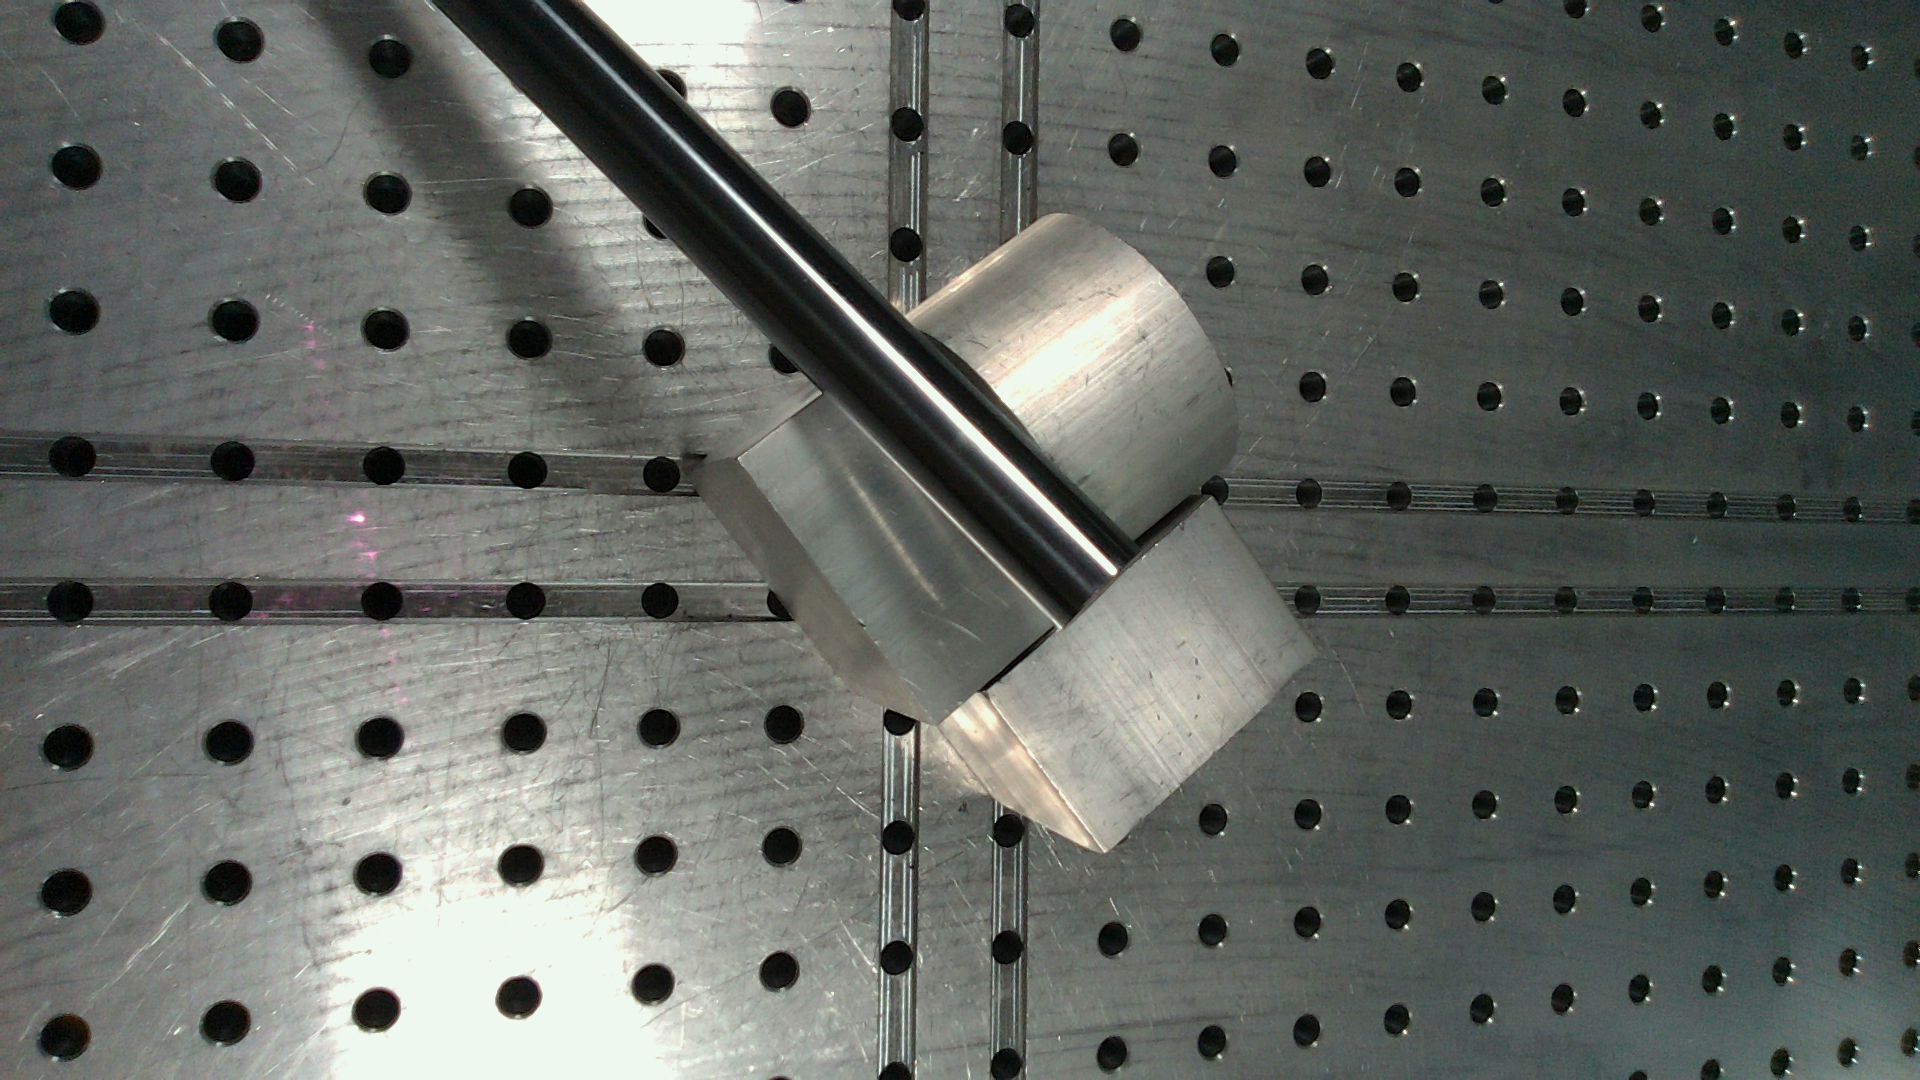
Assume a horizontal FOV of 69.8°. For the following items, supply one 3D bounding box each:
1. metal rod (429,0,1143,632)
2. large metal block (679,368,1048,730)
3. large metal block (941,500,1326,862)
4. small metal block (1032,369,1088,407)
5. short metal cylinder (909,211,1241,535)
[{"bbox_3d":[-0.075,-0.094,0.313,0.025,0.025,0.300,-43,82,-15],"label":"metal rod"},{"bbox_3d":[-0.023,-0.002,0.359,0.050,0.080,0.080,-39,103,-15],"label":"large metal block"},{"bbox_3d":[0.037,0.034,0.379,0.080,0.080,0.050,-39,102,-16],"label":"large metal block"},{"bbox_3d":[0.021,-0.046,0.404,0.050,0.025,0.050,-43,104,-15],"label":"small metal block"},{"bbox_3d":[0.024,-0.035,0.348,0.050,0.080,0.080,-38,102,-16],"label":"short metal cylinder"}]
